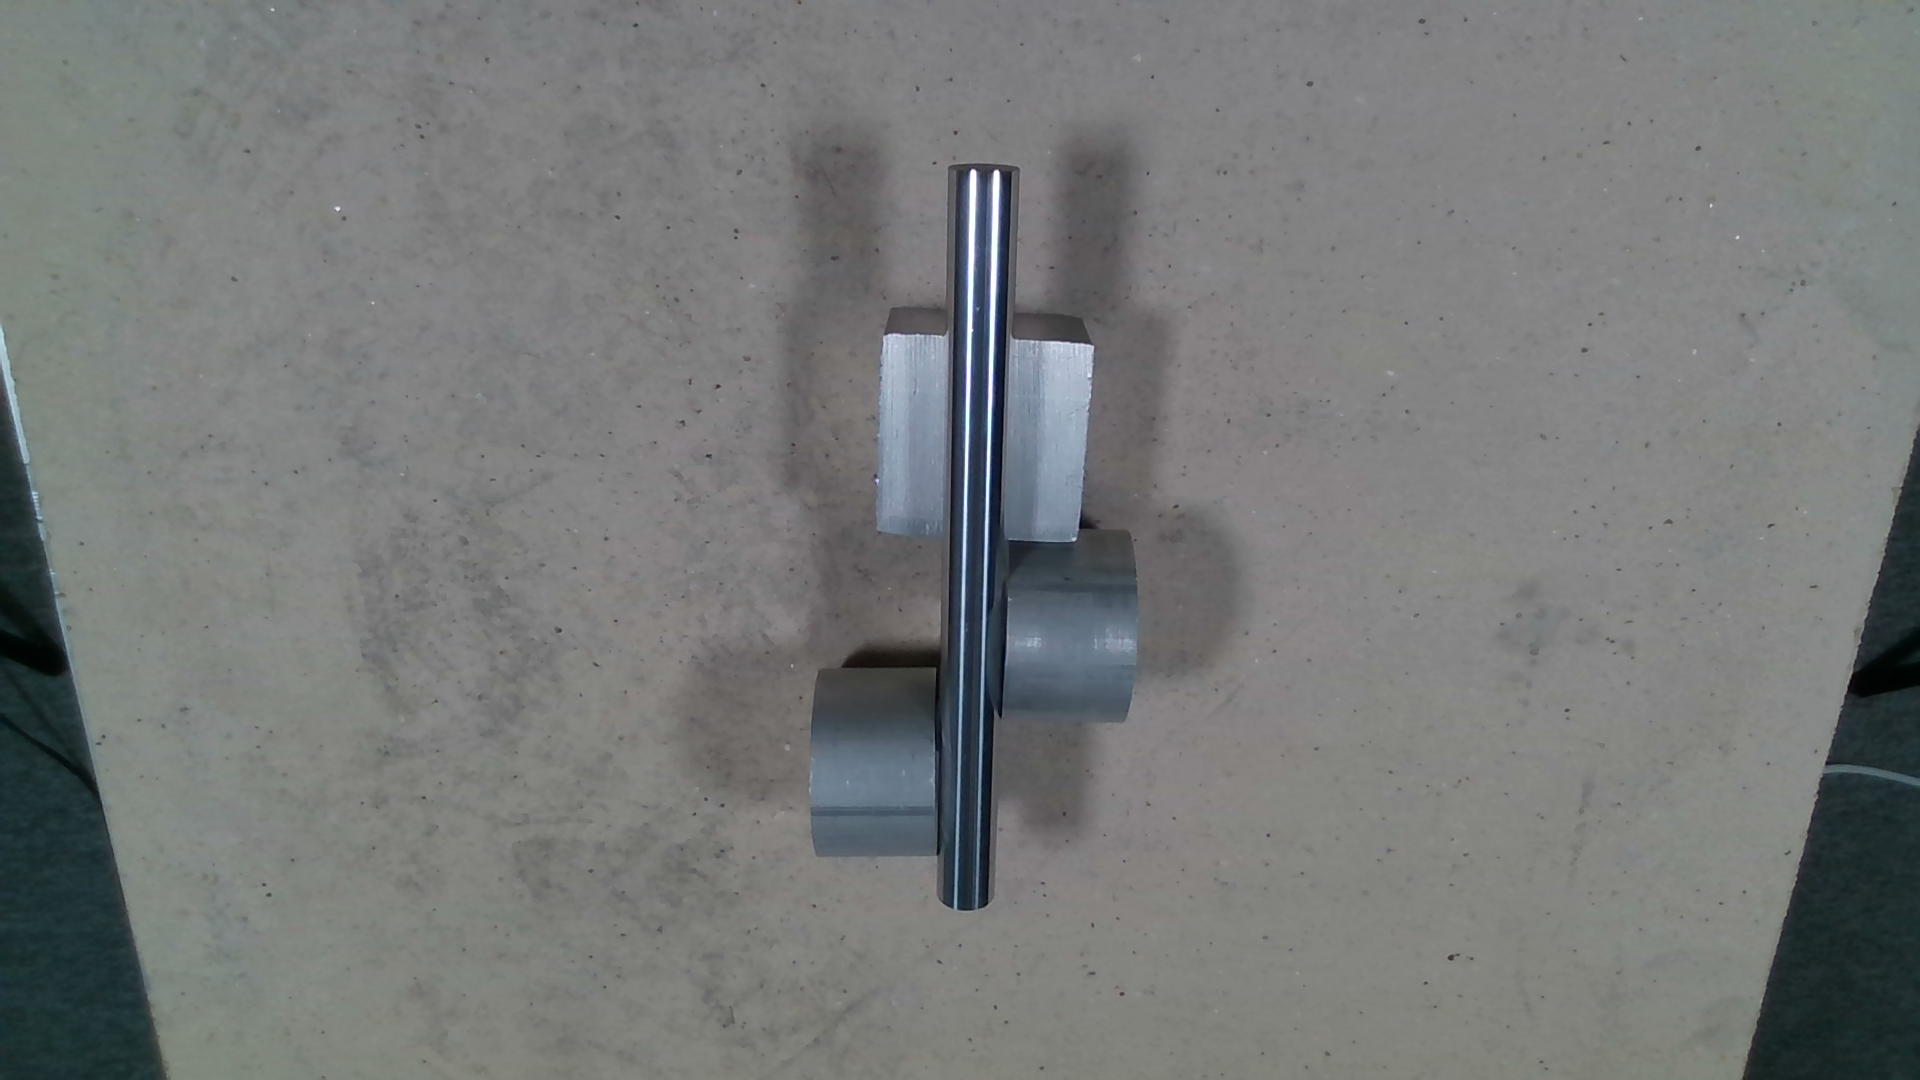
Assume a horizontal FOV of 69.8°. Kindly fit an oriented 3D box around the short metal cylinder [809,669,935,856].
[{"bbox_3d":[-0.035,0.094,0.590,0.050,0.080,0.080,0,110,0],"label":"short metal cylinder"}]

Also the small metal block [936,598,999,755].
[{"bbox_3d":[0.003,0.058,0.592,0.025,0.050,0.050,1,110,0],"label":"small metal block"}]

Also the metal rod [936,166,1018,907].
[{"bbox_3d":[0.005,0.010,0.534,0.025,0.025,0.301,1,111,0],"label":"metal rod"}]

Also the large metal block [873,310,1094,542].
[{"bbox_3d":[0.008,-0.047,0.551,0.080,0.050,0.080,3,110,-1],"label":"large metal block"}]

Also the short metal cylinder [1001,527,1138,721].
[{"bbox_3d":[0.043,0.034,0.569,0.050,0.080,0.080,2,110,-1],"label":"short metal cylinder"}]
